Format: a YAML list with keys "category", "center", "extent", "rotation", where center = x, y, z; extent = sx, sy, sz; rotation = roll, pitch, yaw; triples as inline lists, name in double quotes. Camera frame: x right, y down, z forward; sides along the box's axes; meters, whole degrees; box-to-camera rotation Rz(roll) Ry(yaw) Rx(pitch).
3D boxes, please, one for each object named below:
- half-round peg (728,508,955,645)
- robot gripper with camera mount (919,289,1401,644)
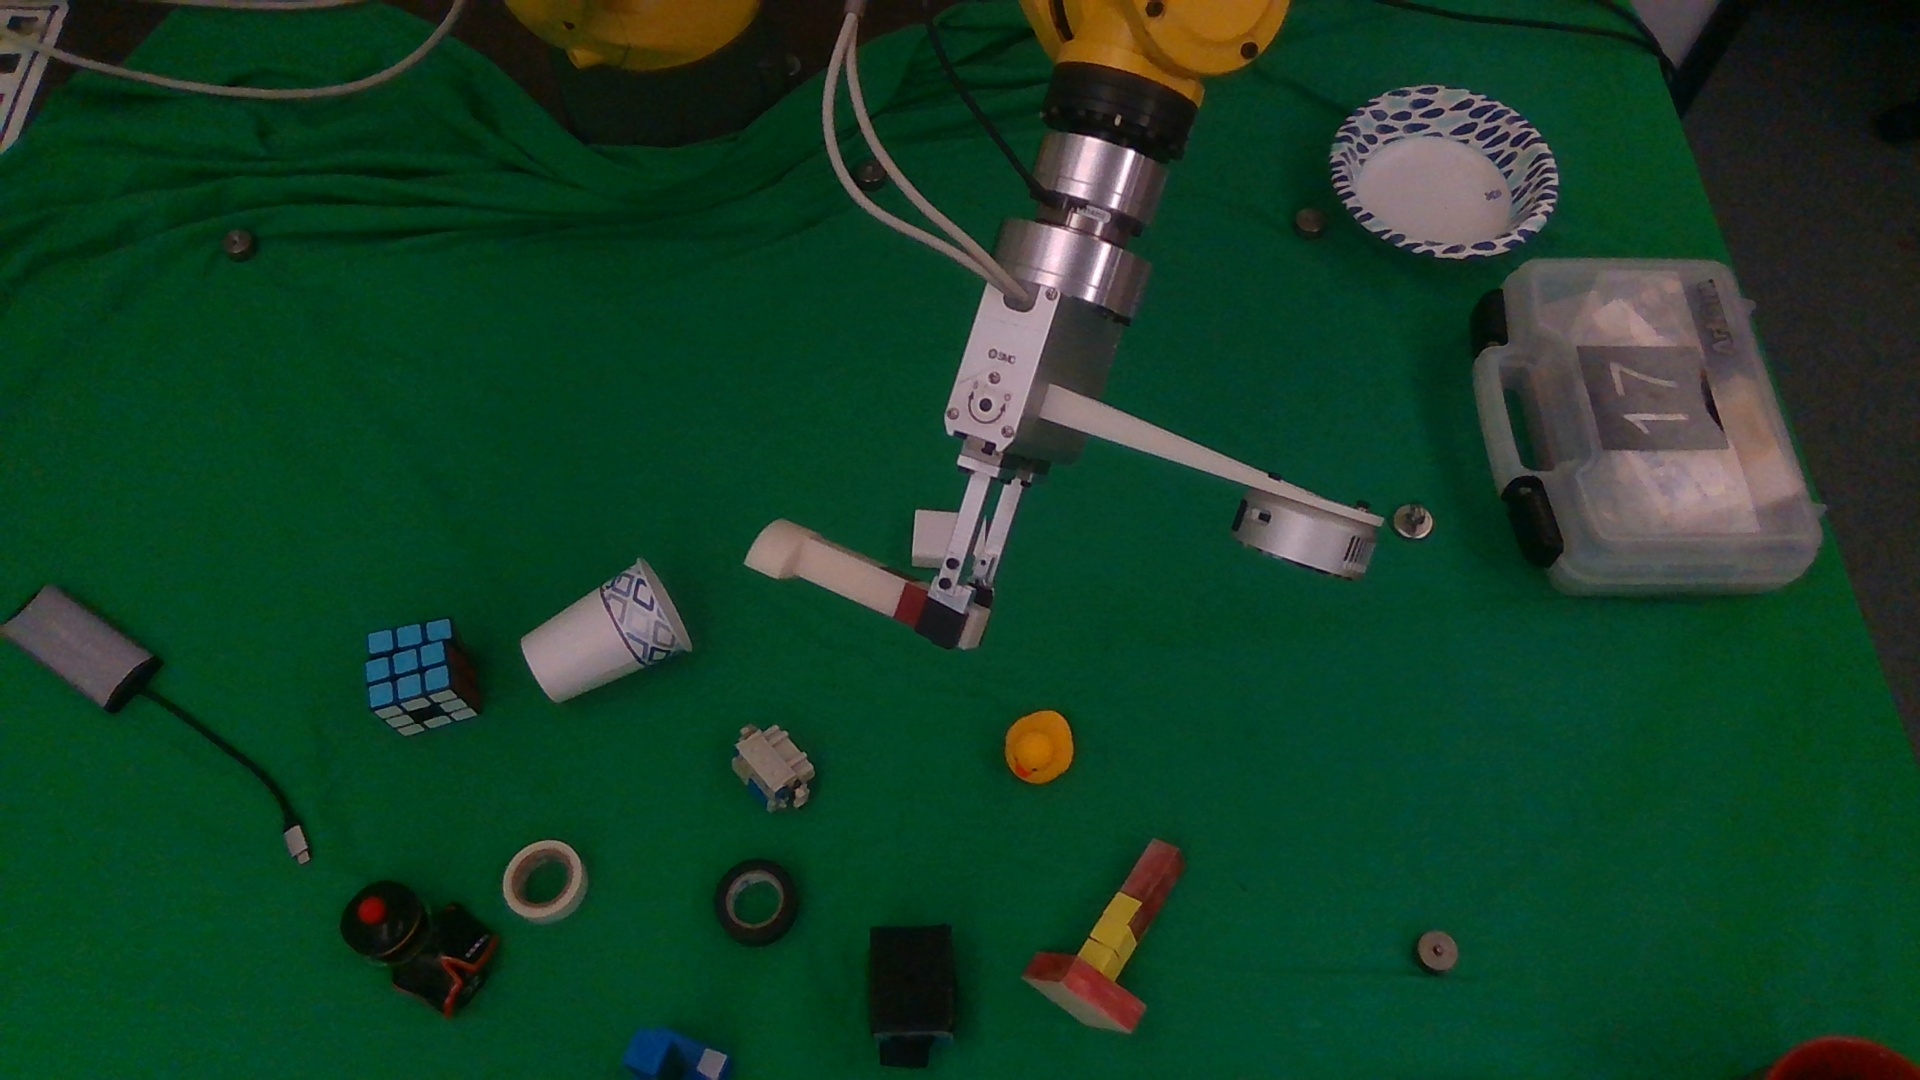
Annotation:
- category: "half-round peg"
  center: [-0.051, 0.018, 0.685]
  extent: [0.122, 0.054, 0.031]
  rotation: [23, 99, 20]
- category: "robot gripper with camera mount"
  center: [0.092, -0.002, 0.633]
  extent: [0.194, 0.118, 0.158]
  rotation: [22, 98, 17]
